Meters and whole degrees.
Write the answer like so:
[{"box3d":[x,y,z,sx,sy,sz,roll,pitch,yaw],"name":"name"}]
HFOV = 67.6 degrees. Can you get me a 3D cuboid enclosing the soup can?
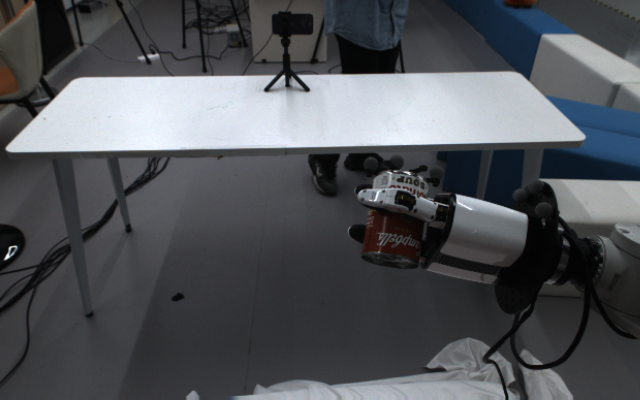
[{"box3d":[0.091,0.023,0.567,0.067,0.067,0.101,8,72,9],"name":"soup can"}]
